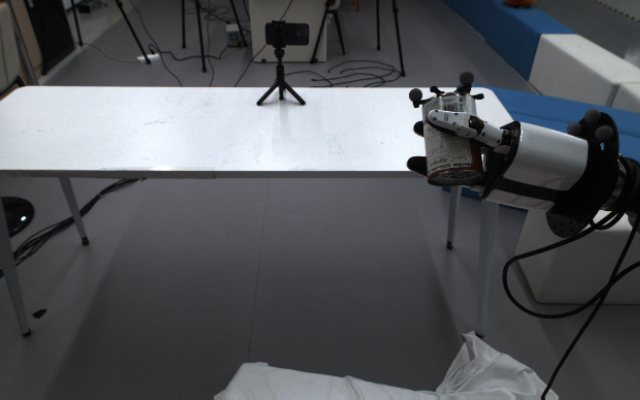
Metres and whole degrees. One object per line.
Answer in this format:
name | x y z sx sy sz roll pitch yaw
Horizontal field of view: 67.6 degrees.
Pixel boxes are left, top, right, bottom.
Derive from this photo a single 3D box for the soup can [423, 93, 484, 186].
soup can | 0.163 -0.077 0.604 0.067 0.067 0.101 0 75 -3
